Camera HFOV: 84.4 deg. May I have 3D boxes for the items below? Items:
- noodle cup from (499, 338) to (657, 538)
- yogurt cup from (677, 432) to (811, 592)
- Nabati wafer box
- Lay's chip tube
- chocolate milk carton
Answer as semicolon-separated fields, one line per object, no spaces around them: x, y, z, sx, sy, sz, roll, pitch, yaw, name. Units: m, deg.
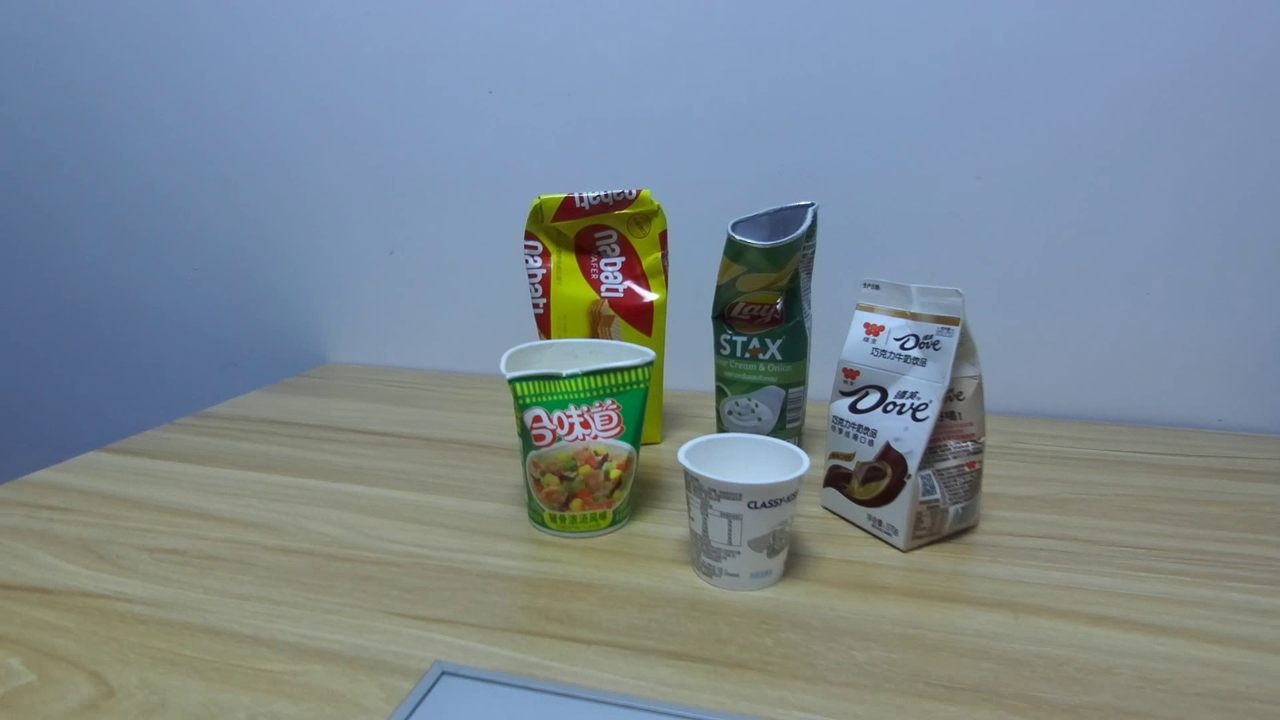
-0.038;0.048;0.457;0.094;0.109;0.087;0;15;0;noodle cup
0.057;0.085;0.396;0.072;0.068;0.072;0;16;0;yogurt cup
-0.030;-0.029;0.569;0.113;0.205;0.042;-6;16;-14;Nabati wafer box
0.095;-0.013;0.527;0.079;0.199;0.071;-2;22;-2;Lay's chip tube
0.172;0.029;0.446;0.073;0.155;0.084;-8;18;-29;chocolate milk carton
